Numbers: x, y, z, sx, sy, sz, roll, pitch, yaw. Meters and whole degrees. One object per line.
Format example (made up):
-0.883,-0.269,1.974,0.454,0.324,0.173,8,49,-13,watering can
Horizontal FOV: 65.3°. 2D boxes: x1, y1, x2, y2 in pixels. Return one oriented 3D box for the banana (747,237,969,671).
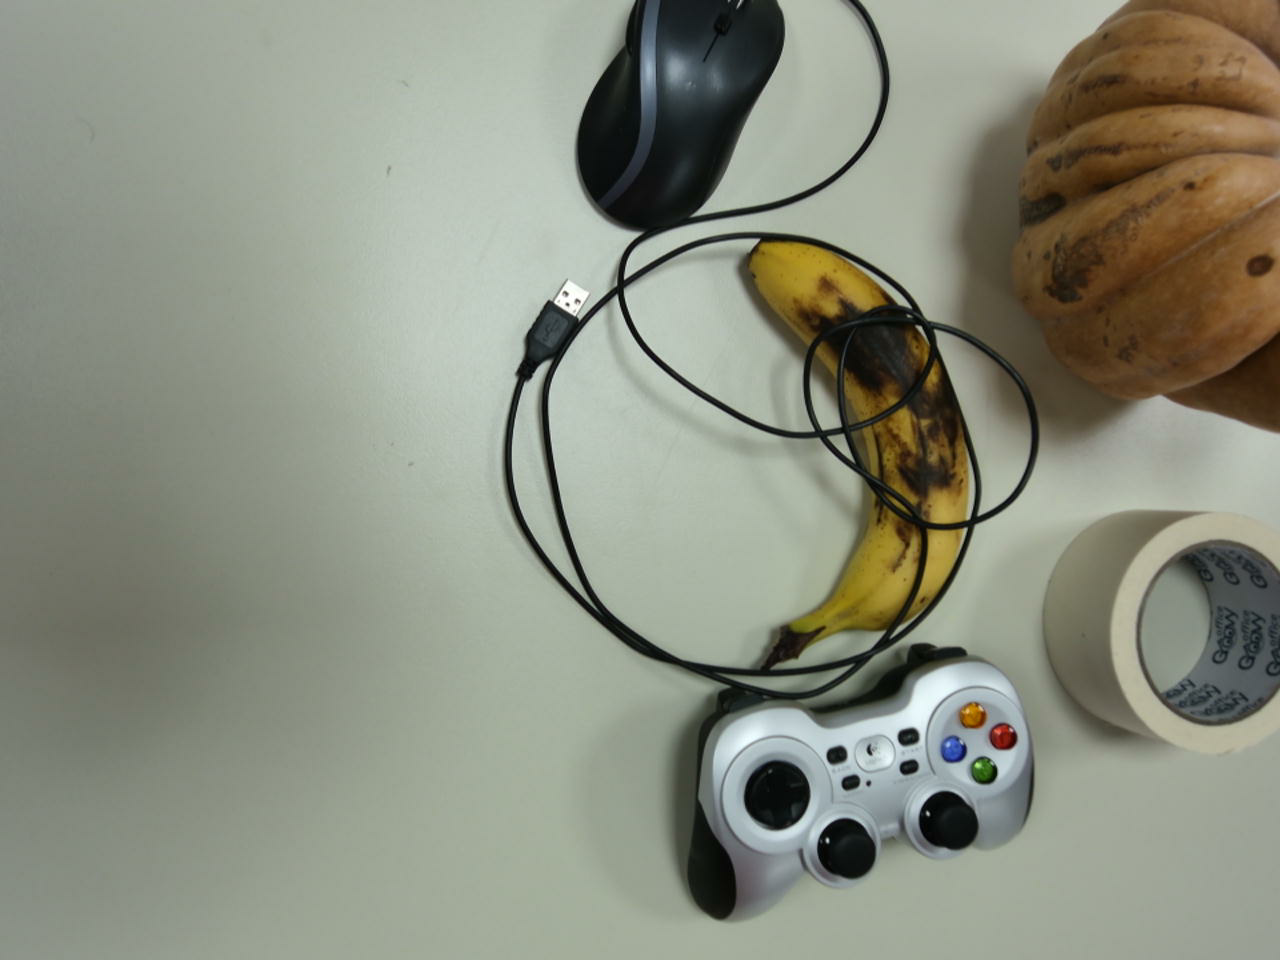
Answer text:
0.096,-0.014,0.437,0.094,0.039,0.187,-2,90,-11,banana
